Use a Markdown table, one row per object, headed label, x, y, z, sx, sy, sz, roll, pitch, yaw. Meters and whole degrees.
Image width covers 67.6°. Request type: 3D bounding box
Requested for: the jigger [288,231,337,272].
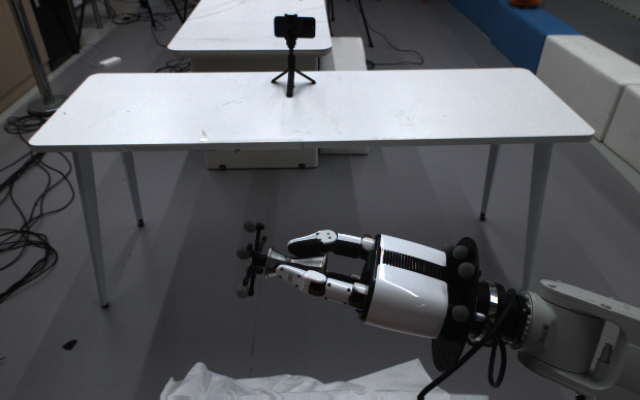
| label | x | y | z | sx | sy | sz | roll | pitch | yaw |
| --- | --- | --- | --- | --- | --- | --- | --- | --- | --- |
| jigger | -0.020 | 0.077 | 0.580 | 0.071 | 0.043 | 0.043 | 8 | 35 | 4 |
